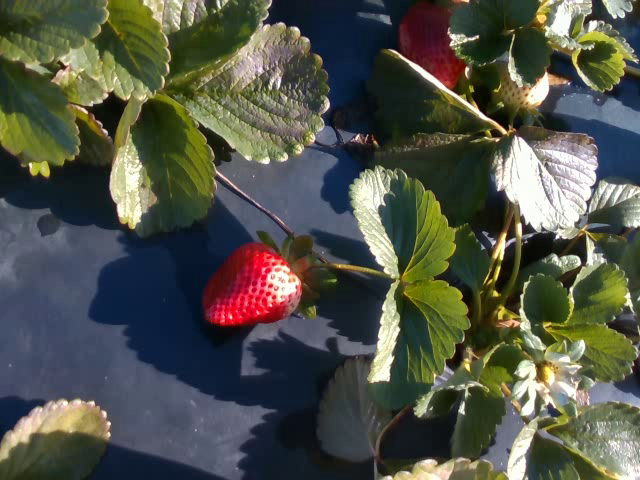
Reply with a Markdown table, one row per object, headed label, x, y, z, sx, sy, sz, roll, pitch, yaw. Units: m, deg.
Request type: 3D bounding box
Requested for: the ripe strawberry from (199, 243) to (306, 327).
| label | x | y | z | sx | sy | sz | roll | pitch | yaw |
| --- | --- | --- | --- | --- | --- | --- | --- | --- | --- |
| ripe strawberry | -0.031 | 0.022 | 0.270 | 0.055 | 0.042 | 0.044 | -30 | 31 | -27 |
